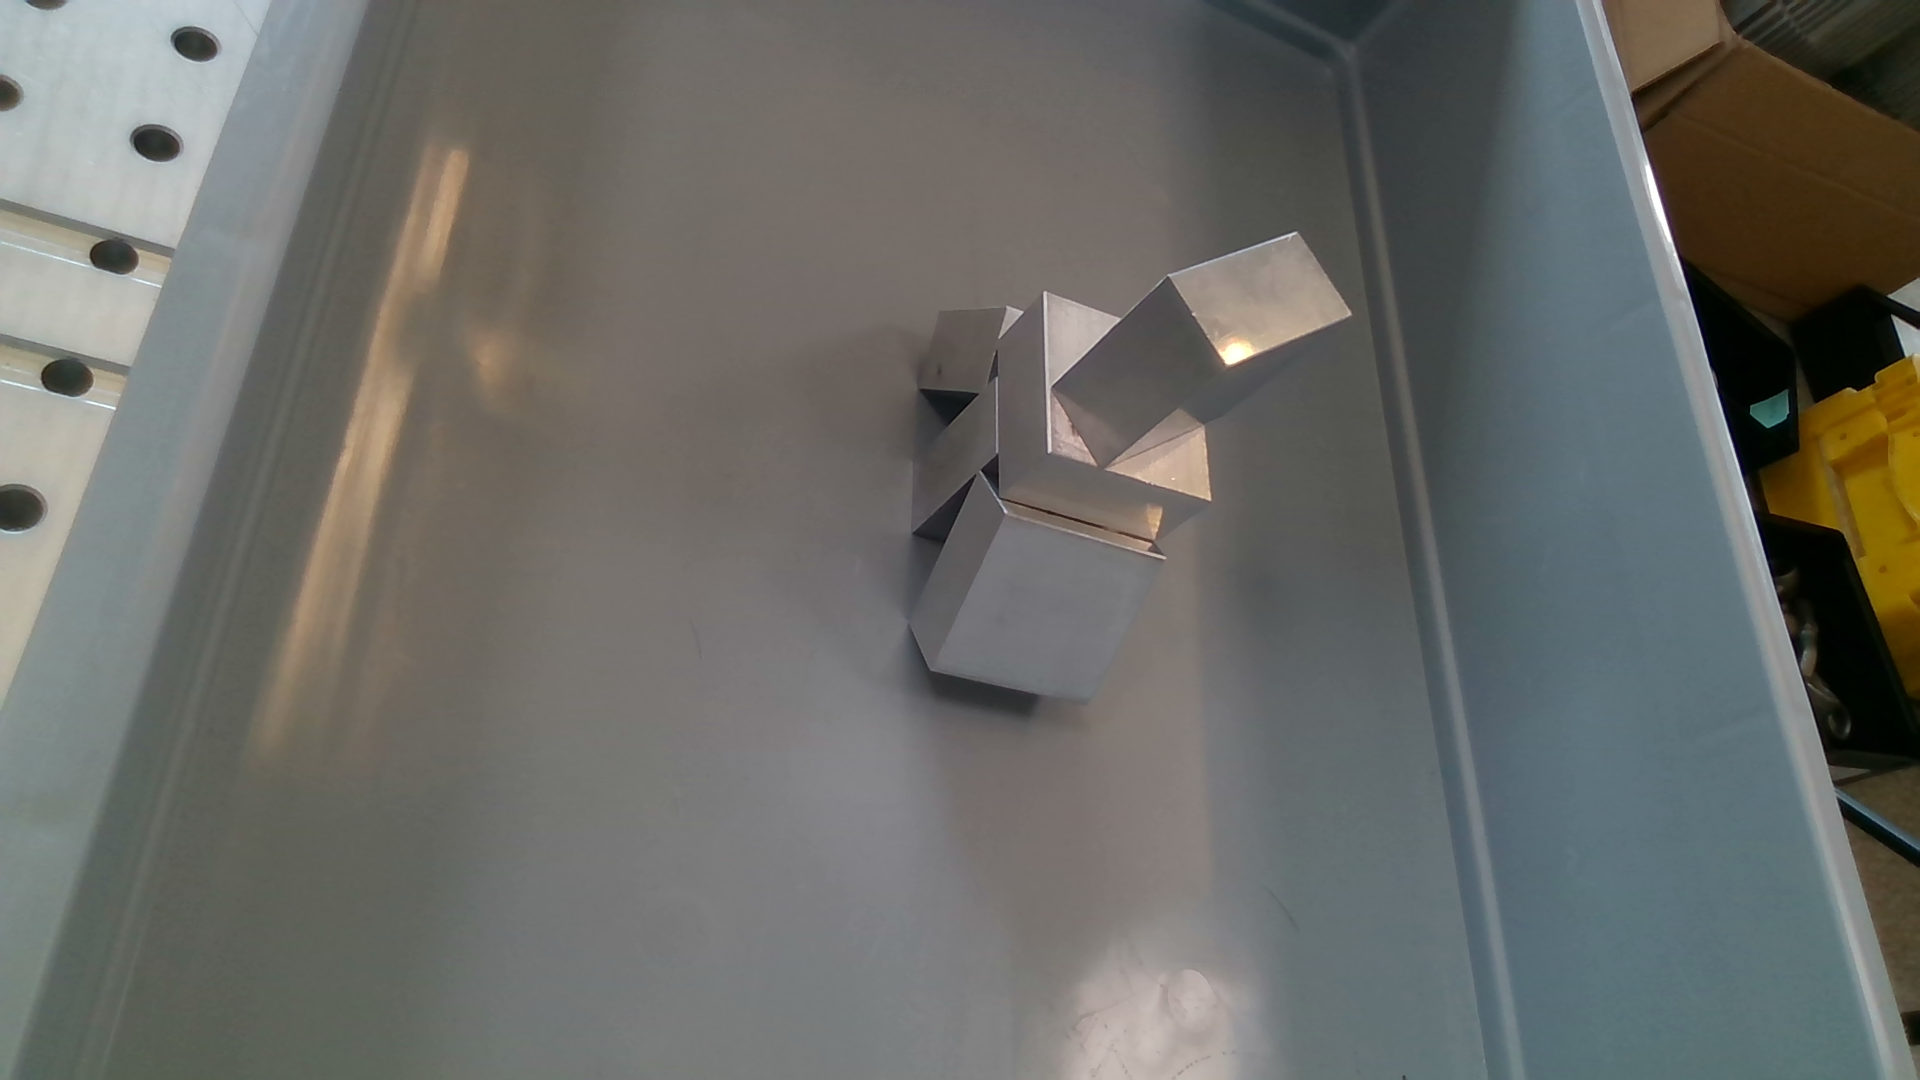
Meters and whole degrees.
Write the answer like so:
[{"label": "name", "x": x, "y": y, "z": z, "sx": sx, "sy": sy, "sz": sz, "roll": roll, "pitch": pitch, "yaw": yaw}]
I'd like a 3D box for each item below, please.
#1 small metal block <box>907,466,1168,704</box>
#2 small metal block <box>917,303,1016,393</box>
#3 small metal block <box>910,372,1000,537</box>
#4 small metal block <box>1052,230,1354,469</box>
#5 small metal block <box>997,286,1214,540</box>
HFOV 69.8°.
[{"label": "small metal block", "x": 0.020, "y": 0.013, "z": 0.378, "sx": 0.050, "sy": 0.050, "sz": 0.025, "roll": 15, "pitch": 24, "yaw": -25}, {"label": "small metal block", "x": 0.022, "y": -0.051, "z": 0.412, "sx": 0.050, "sy": 0.050, "sz": 0.025, "roll": 15, "pitch": 92, "yaw": -25}, {"label": "small metal block", "x": 0.020, "y": -0.018, "z": 0.397, "sx": 0.050, "sy": 0.050, "sz": 0.025, "roll": 15, "pitch": 58, "yaw": -25}, {"label": "small metal block", "x": 0.059, "y": -0.047, "z": 0.339, "sx": 0.050, "sy": 0.050, "sz": 0.025, "roll": -24, "pitch": 79, "yaw": -38}, {"label": "small metal block", "x": 0.038, "y": -0.033, "z": 0.367, "sx": 0.050, "sy": 0.025, "sz": 0.050, "roll": 15, "pitch": 58, "yaw": -25}]
